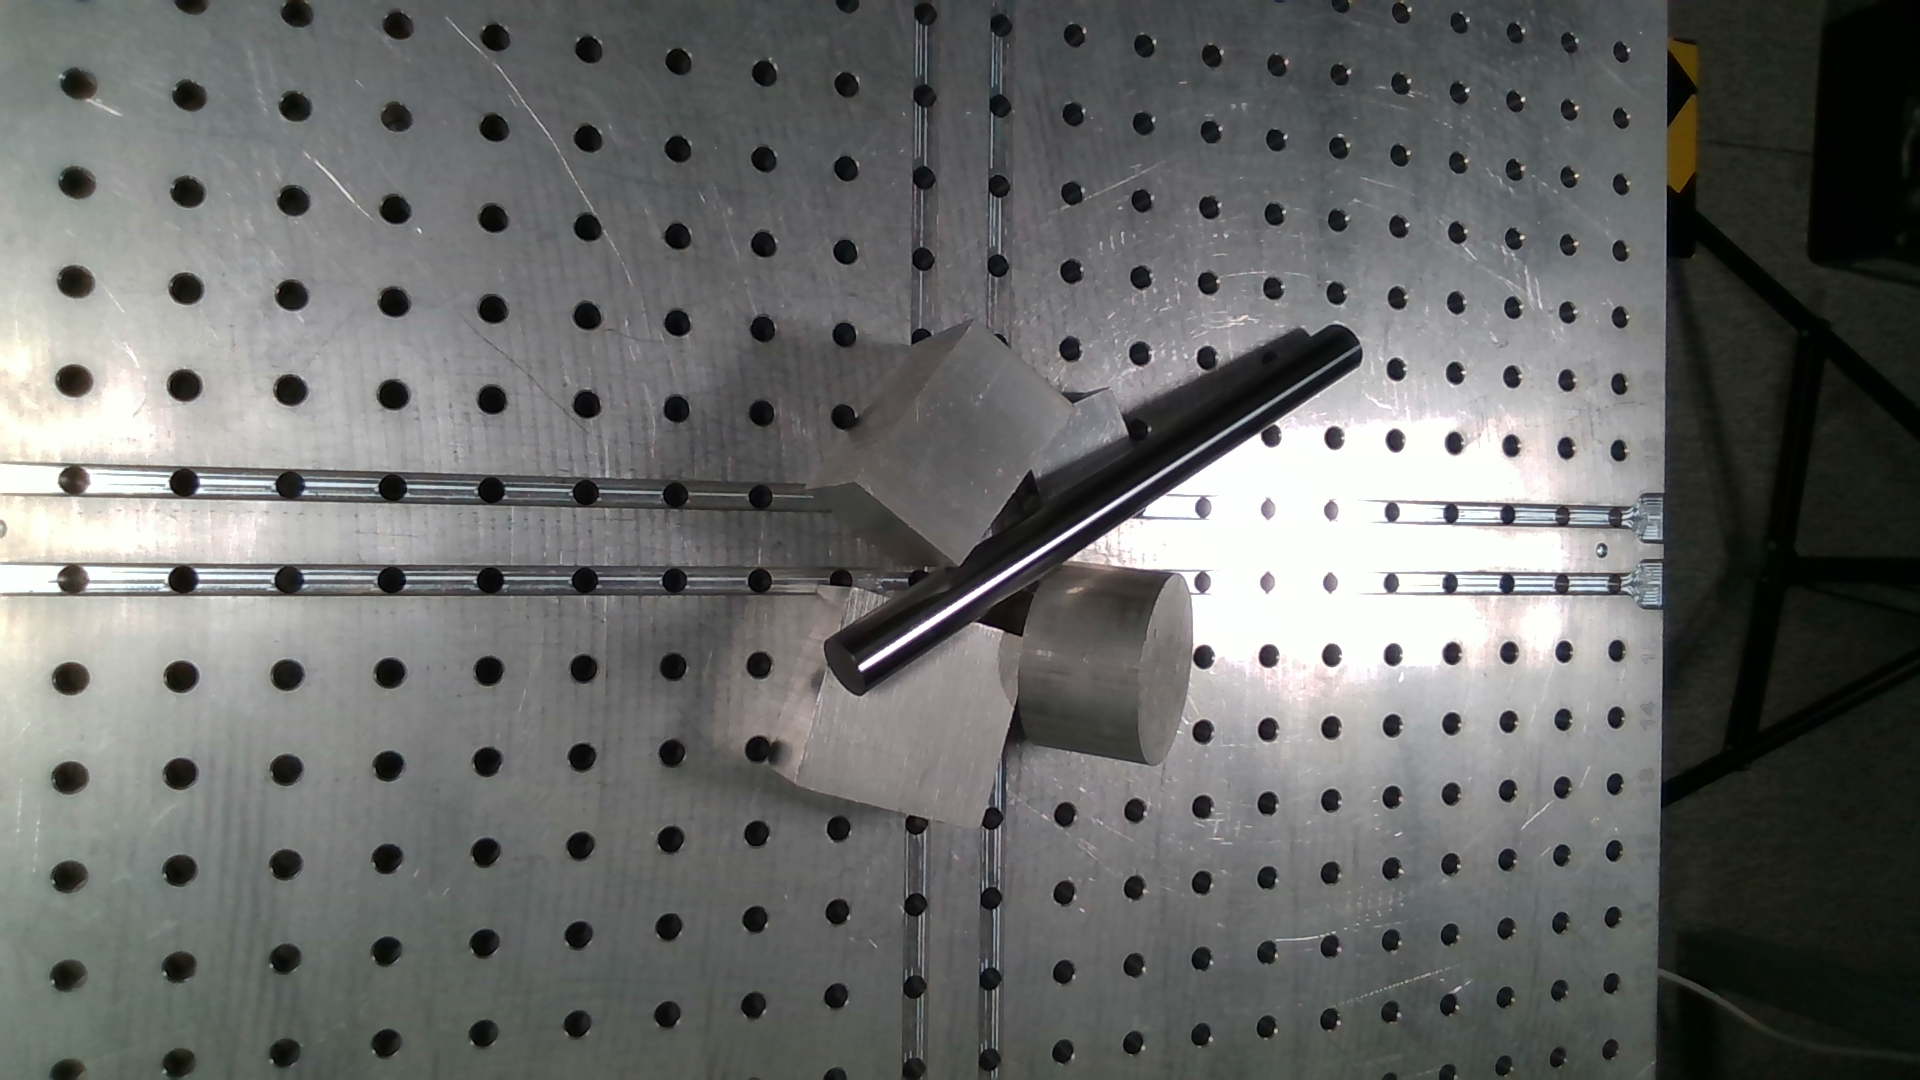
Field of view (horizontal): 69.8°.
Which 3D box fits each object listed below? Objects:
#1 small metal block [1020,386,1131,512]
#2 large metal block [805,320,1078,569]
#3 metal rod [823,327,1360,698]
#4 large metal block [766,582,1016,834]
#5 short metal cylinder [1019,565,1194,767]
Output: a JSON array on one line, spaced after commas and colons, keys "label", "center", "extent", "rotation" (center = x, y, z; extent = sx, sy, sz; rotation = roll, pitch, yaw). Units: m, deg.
[{"label": "small metal block", "center": [0.050, -0.034, 0.607], "extent": [0.050, 0.025, 0.050], "rotation": [-26, 99, -18]}, {"label": "large metal block", "center": [-0.010, -0.036, 0.555], "extent": [0.050, 0.080, 0.080], "rotation": [39, 77, -16]}, {"label": "metal rod", "center": [0.068, -0.021, 0.581], "extent": [0.300, 0.025, 0.025], "rotation": [-32, 101, -29]}, {"label": "large metal block", "center": [-0.026, 0.068, 0.565], "extent": [0.080, 0.050, 0.080], "rotation": [18, 84, -19]}, {"label": "short metal cylinder", "center": [0.063, 0.051, 0.575], "extent": [0.050, 0.080, 0.080], "rotation": [7, 87, 23]}]
